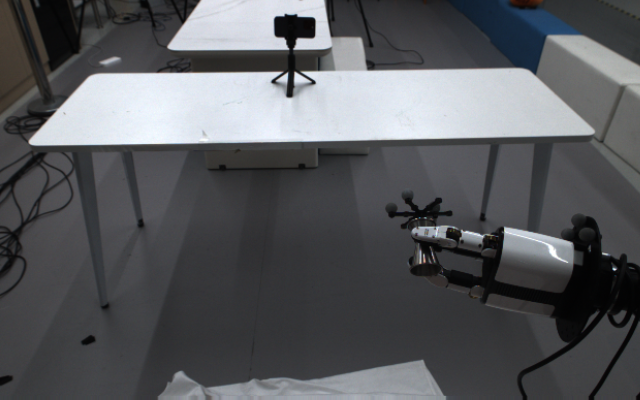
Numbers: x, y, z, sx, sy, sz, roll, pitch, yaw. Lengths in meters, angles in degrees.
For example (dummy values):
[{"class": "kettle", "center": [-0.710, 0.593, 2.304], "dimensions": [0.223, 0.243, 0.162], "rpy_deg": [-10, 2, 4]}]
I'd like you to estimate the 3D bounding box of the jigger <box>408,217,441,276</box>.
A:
[{"class": "jigger", "center": [0.139, 0.059, 0.648], "dimensions": [0.043, 0.043, 0.071], "rpy_deg": [2, 59, 0]}]
